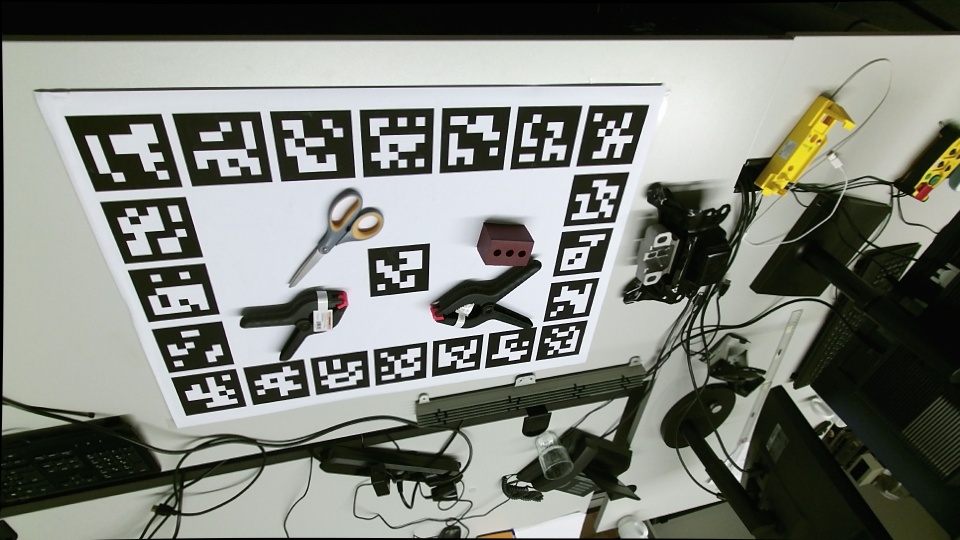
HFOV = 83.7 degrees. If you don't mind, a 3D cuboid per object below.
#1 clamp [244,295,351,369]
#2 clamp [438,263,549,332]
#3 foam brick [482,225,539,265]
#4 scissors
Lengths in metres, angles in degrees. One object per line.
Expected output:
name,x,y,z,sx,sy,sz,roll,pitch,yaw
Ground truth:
clamp,-0.289,0.091,0.899,0.165,0.036,0.122,-29,122,1
clamp,0.025,0.068,0.989,0.203,0.036,0.165,-9,130,-13
foam brick,0.053,-0.043,0.913,0.078,0.051,0.053,-2,123,-24
scissors,-0.219,-0.036,0.836,0.088,0.016,0.203,35,109,-27
